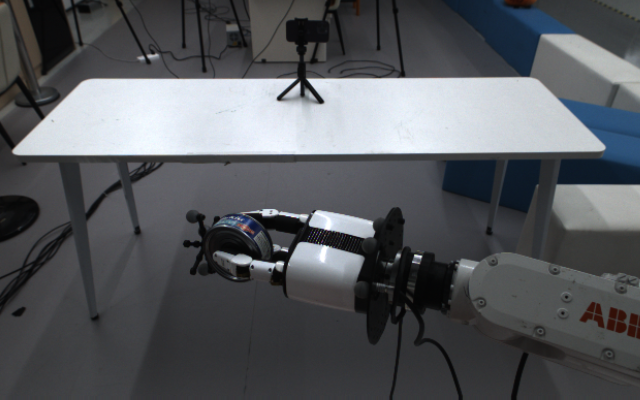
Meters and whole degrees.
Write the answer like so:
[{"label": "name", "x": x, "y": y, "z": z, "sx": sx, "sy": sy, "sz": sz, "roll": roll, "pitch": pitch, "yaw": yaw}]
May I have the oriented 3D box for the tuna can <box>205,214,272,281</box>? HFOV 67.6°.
[{"label": "tuna can", "x": -0.102, "y": 0.059, "z": 0.616, "sx": 0.085, "sy": 0.085, "sz": 0.034, "roll": 12, "pitch": 28, "yaw": 14}]
